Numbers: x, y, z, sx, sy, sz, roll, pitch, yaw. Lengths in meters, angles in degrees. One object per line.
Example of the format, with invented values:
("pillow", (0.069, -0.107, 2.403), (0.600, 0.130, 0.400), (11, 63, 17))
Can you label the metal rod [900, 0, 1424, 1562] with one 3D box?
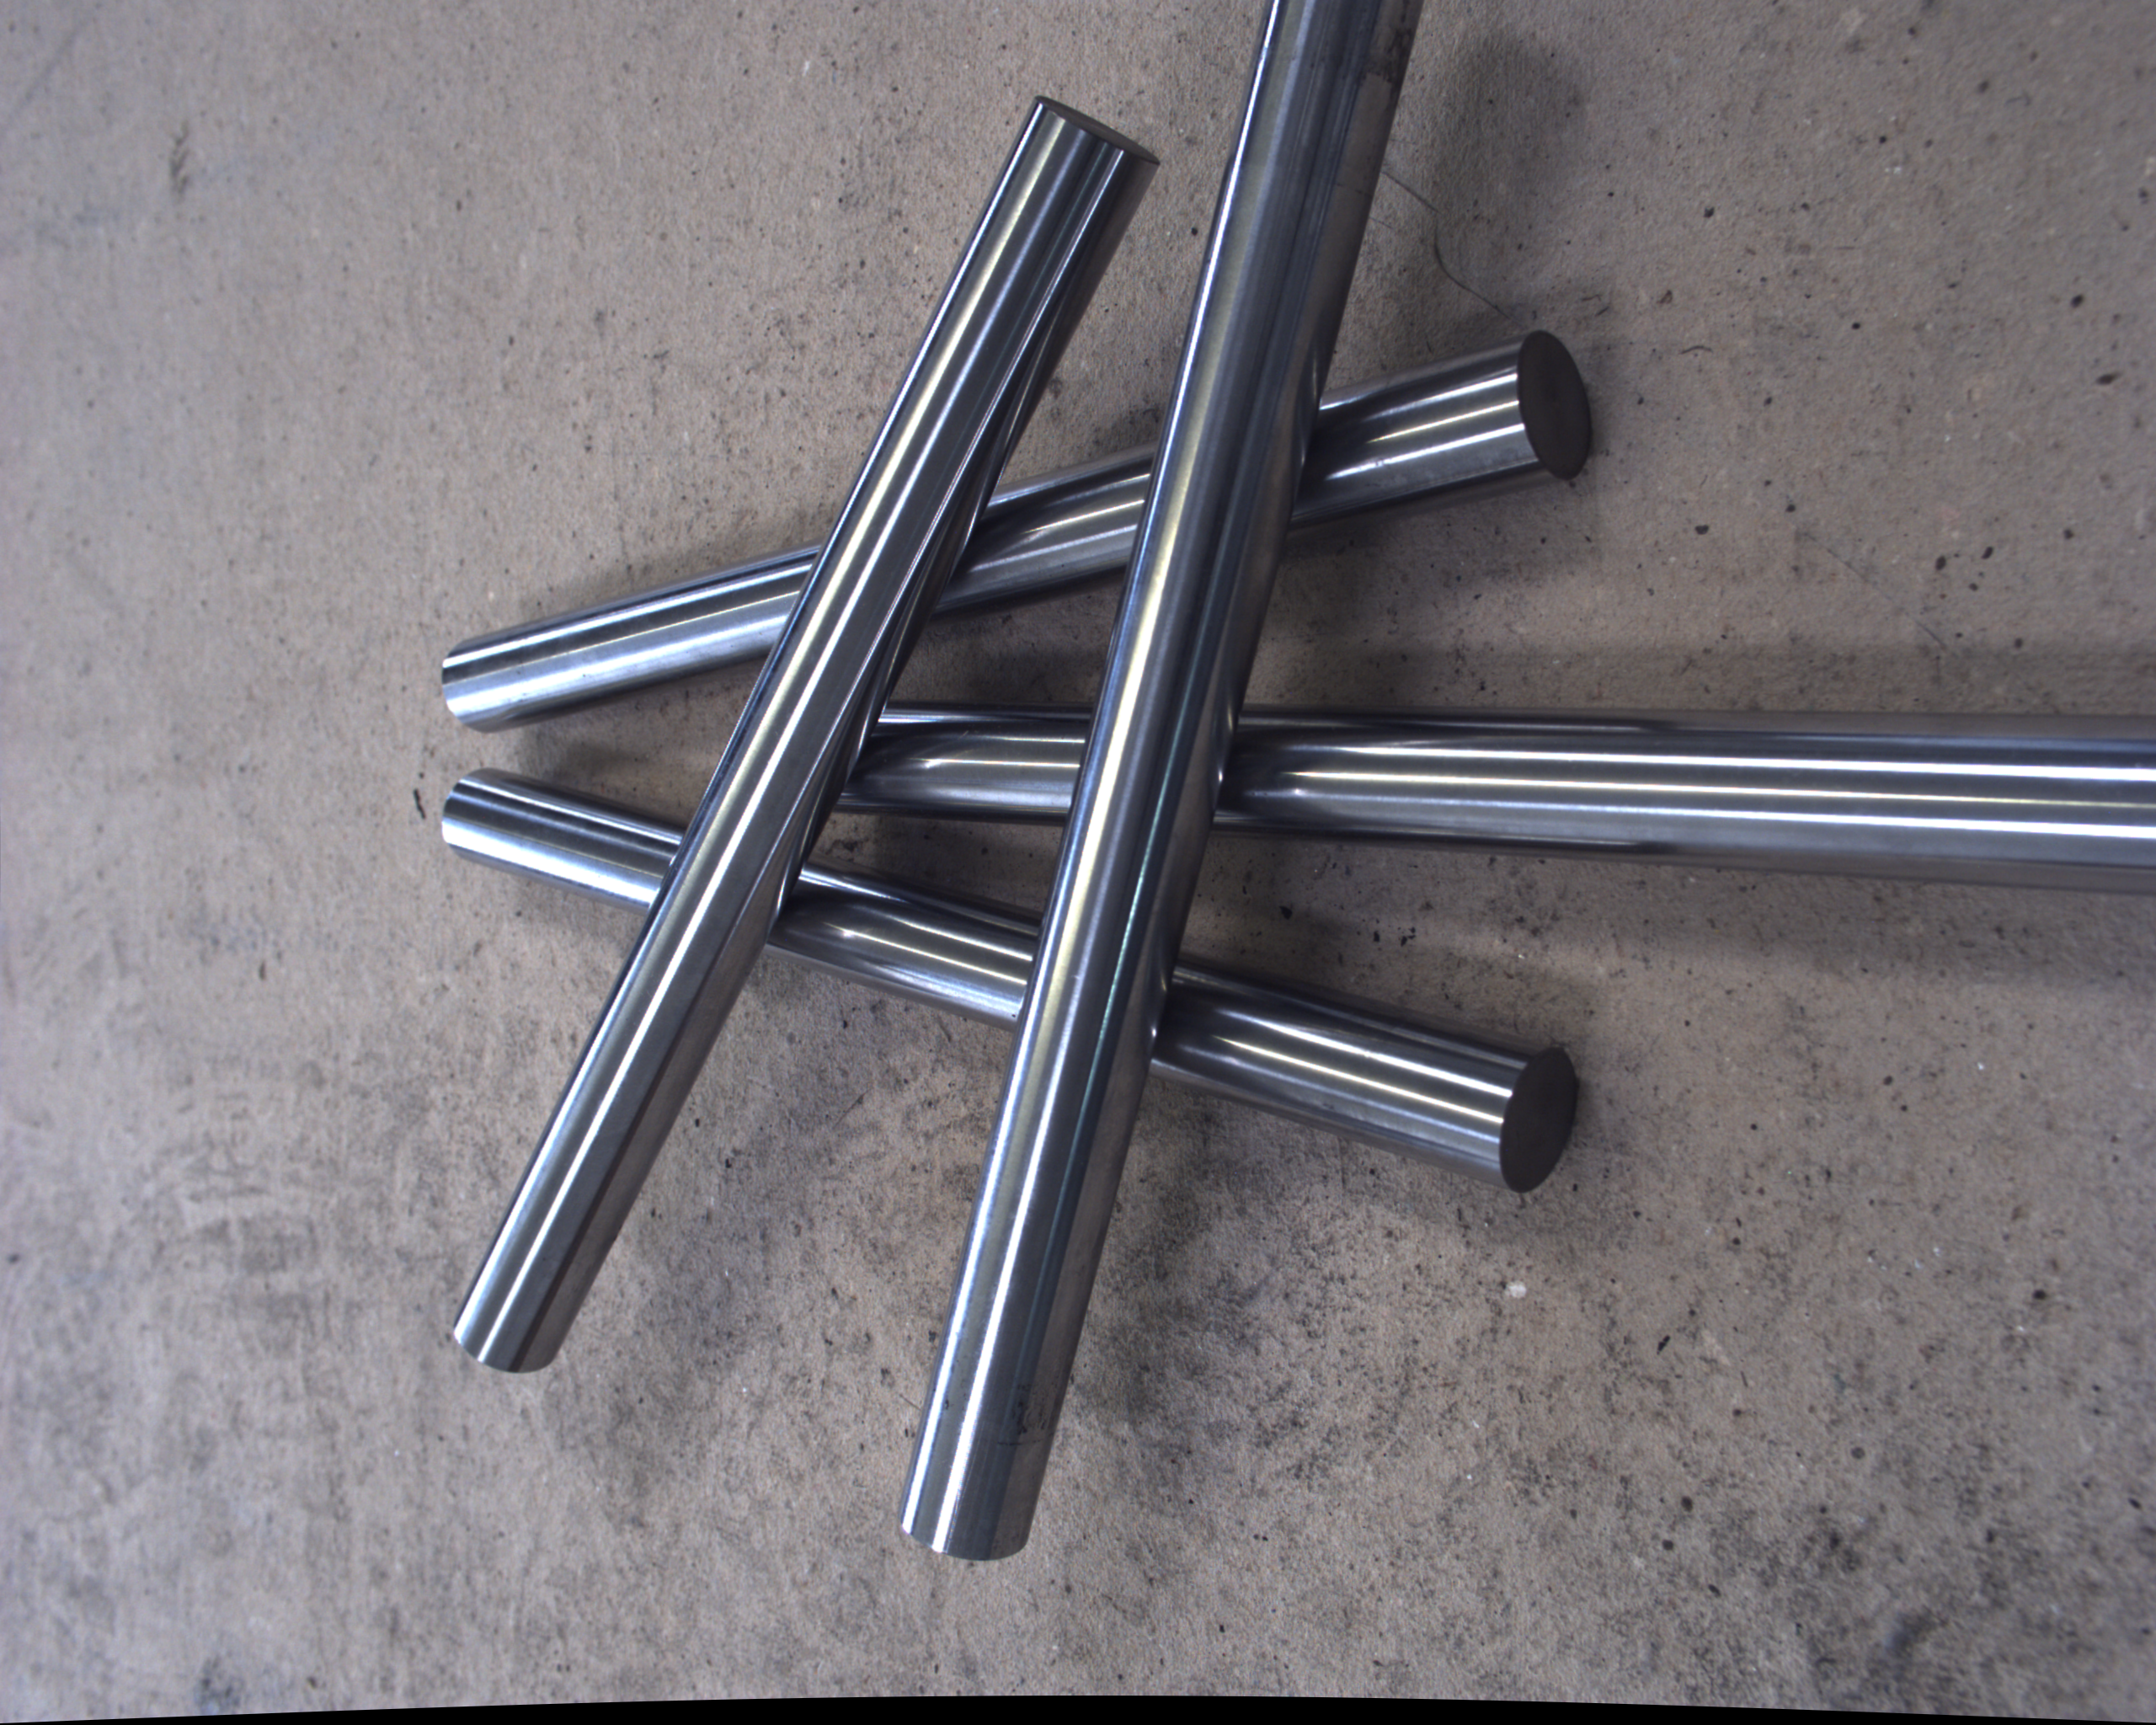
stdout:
("metal rod", (0.013, -0.018, 0.363), (0.025, 0.025, 0.298), (22, 104, 38))

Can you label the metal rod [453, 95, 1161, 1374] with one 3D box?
("metal rod", (-0.064, -0.011, 0.428), (0.025, 0.025, 0.298), (44, 116, 31))

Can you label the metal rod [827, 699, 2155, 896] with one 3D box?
("metal rod", (0.063, -0.014, 0.355), (0.300, 0.025, 0.025), (4, 93, 40))

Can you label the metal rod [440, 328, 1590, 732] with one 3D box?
("metal rod", (-0.037, -0.060, 0.437), (0.300, 0.025, 0.025), (-7, 85, 39))

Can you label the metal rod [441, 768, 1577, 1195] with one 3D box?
("metal rod", (-0.038, 0.015, 0.438), (0.300, 0.025, 0.025), (13, 99, 39))
